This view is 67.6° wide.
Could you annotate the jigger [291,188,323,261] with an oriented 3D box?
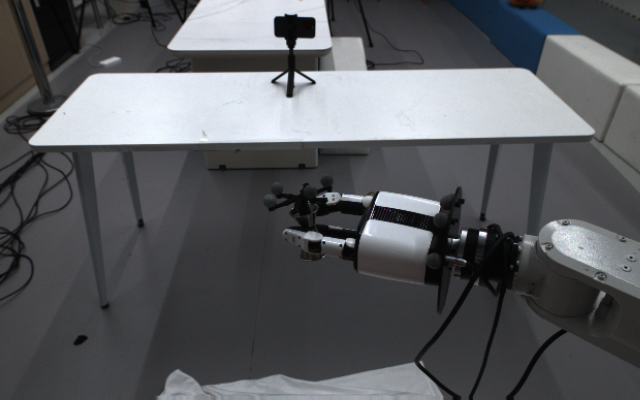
[{"bbox_3d":[-0.013,0.042,0.654,0.043,0.071,0.043,-11,24,5],"label":"jigger"}]
